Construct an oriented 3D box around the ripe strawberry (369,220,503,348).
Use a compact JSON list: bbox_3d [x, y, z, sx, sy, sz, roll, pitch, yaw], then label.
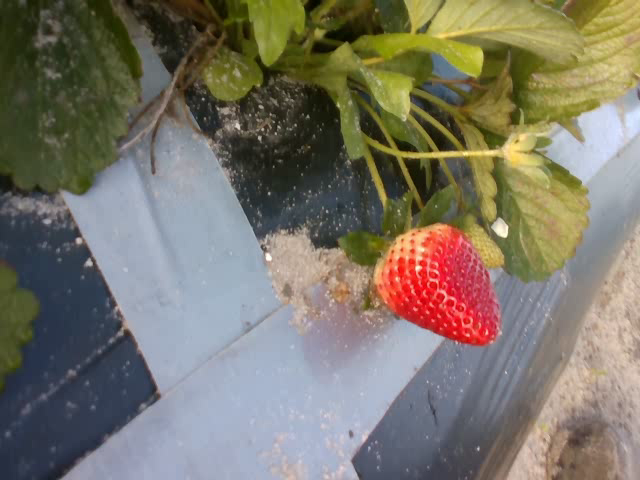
[{"bbox_3d":[0.023,0.008,0.100,0.023,0.026,0.021,-15,-35,-24],"label":"ripe strawberry"}]
